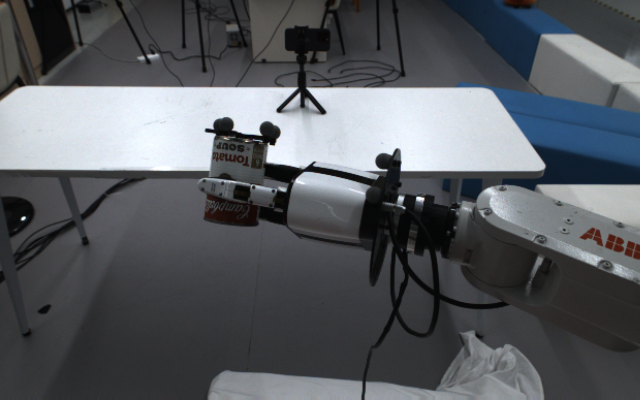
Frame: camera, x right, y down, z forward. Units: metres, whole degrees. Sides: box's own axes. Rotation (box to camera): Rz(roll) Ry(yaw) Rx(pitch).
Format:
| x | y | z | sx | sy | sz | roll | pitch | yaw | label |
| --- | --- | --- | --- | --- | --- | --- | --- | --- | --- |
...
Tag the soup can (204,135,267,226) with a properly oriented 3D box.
| x | y | z | sx | sy | sz | roll | pitch | yaw | label |
| --- | --- | --- | --- | --- | --- | --- | --- | --- | --- |
| -0.101 | -0.023 | 0.591 | 0.067 | 0.101 | 0.067 | 7 | 4 | 0 | soup can |
